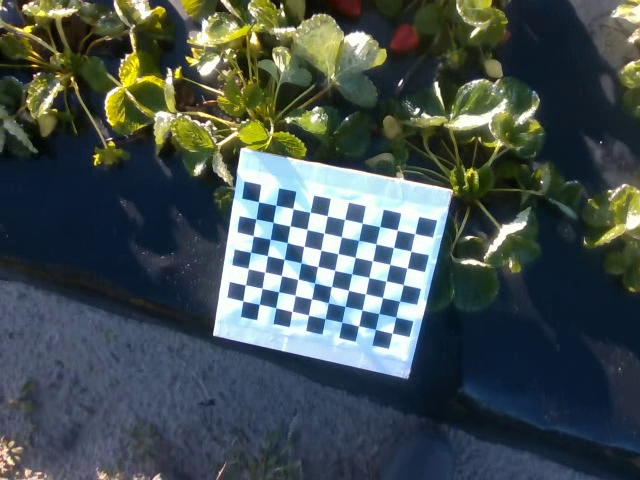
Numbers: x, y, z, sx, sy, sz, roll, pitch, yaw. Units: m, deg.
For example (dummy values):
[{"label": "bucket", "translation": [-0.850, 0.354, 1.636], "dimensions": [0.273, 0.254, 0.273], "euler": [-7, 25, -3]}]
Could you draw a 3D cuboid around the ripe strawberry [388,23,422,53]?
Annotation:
[{"label": "ripe strawberry", "translation": [0.109, -0.258, 0.759], "dimensions": [0.047, 0.039, 0.040], "euler": [-41, 6, -5]}]
